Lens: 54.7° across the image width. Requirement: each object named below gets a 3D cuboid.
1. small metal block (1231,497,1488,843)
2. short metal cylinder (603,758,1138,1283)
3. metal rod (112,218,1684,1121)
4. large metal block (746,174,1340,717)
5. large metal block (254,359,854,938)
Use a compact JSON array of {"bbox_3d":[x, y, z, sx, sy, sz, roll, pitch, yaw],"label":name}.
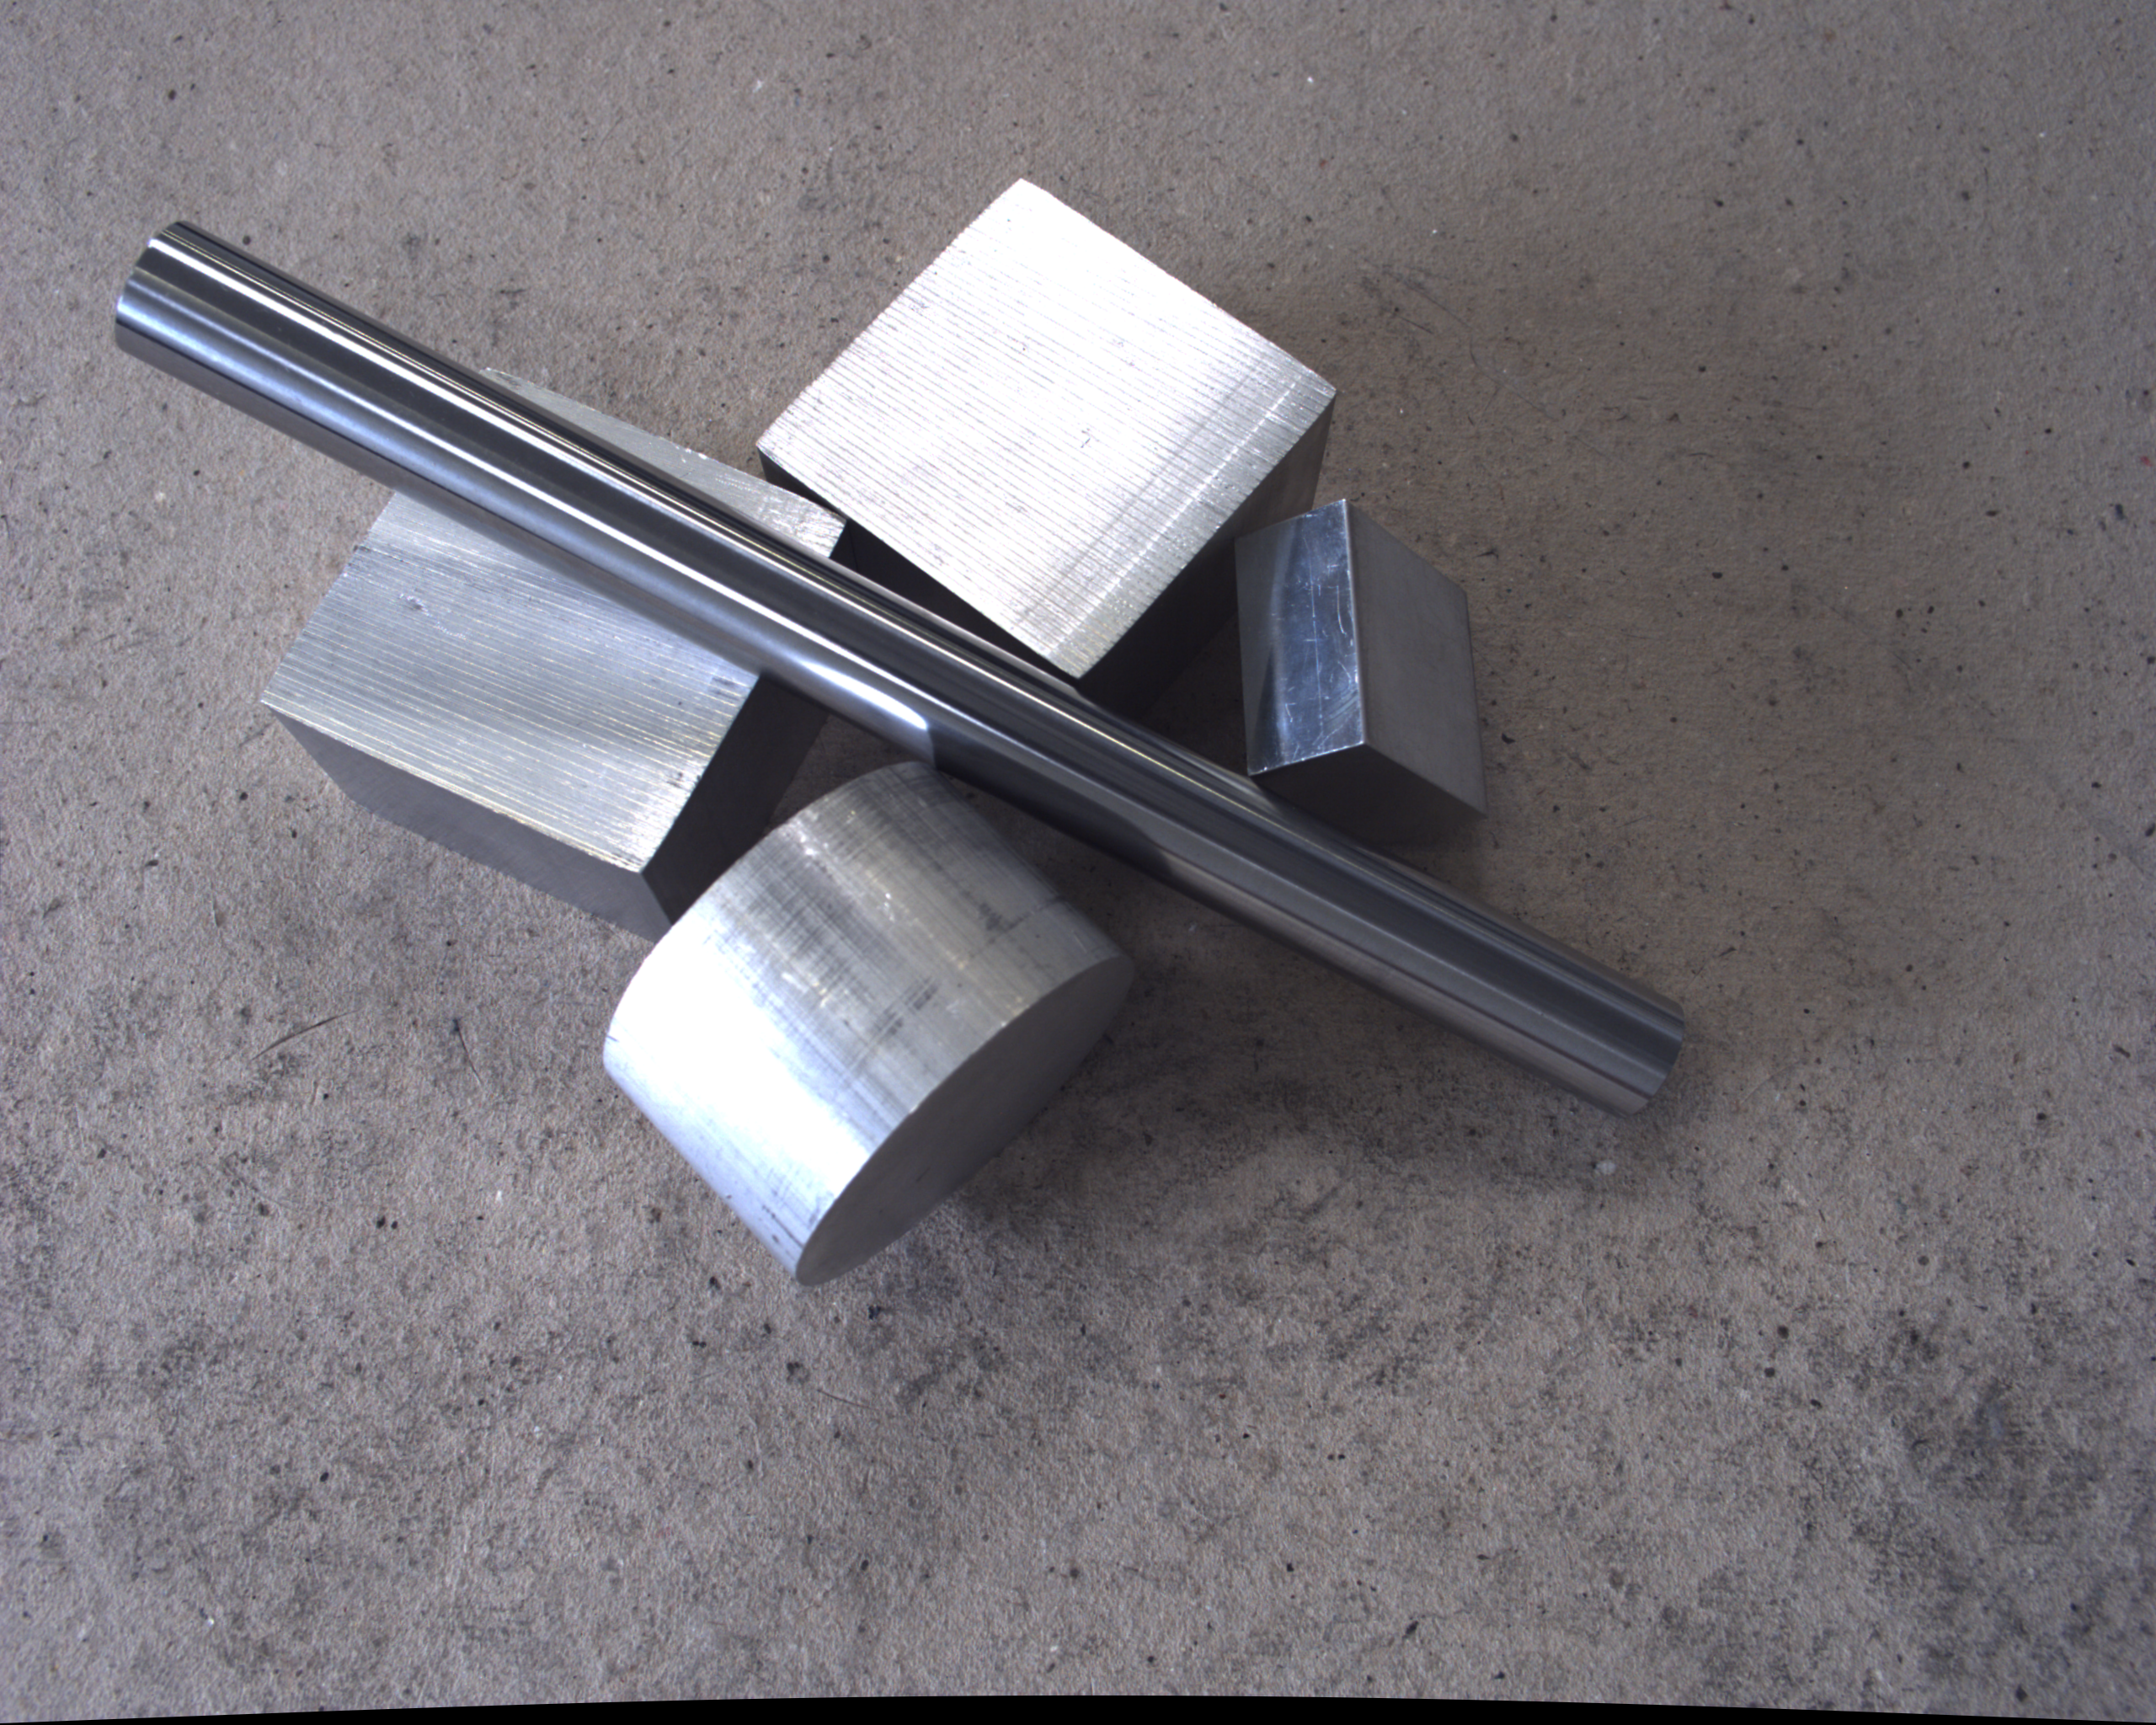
[{"bbox_3d":[0.055,-0.036,0.407,0.025,0.050,0.050,-15,66,33],"label":"small metal block"},{"bbox_3d":[-0.036,0.028,0.369,0.080,0.080,0.050,-42,76,-14],"label":"short metal cylinder"},{"bbox_3d":[-0.025,-0.030,0.377,0.301,0.025,0.025,27,72,-8],"label":"metal rod"},{"bbox_3d":[-0.006,-0.077,0.421,0.080,0.050,0.080,38,74,12],"label":"large metal block"},{"bbox_3d":[-0.096,-0.039,0.410,0.080,0.050,0.080,24,72,8],"label":"large metal block"}]
